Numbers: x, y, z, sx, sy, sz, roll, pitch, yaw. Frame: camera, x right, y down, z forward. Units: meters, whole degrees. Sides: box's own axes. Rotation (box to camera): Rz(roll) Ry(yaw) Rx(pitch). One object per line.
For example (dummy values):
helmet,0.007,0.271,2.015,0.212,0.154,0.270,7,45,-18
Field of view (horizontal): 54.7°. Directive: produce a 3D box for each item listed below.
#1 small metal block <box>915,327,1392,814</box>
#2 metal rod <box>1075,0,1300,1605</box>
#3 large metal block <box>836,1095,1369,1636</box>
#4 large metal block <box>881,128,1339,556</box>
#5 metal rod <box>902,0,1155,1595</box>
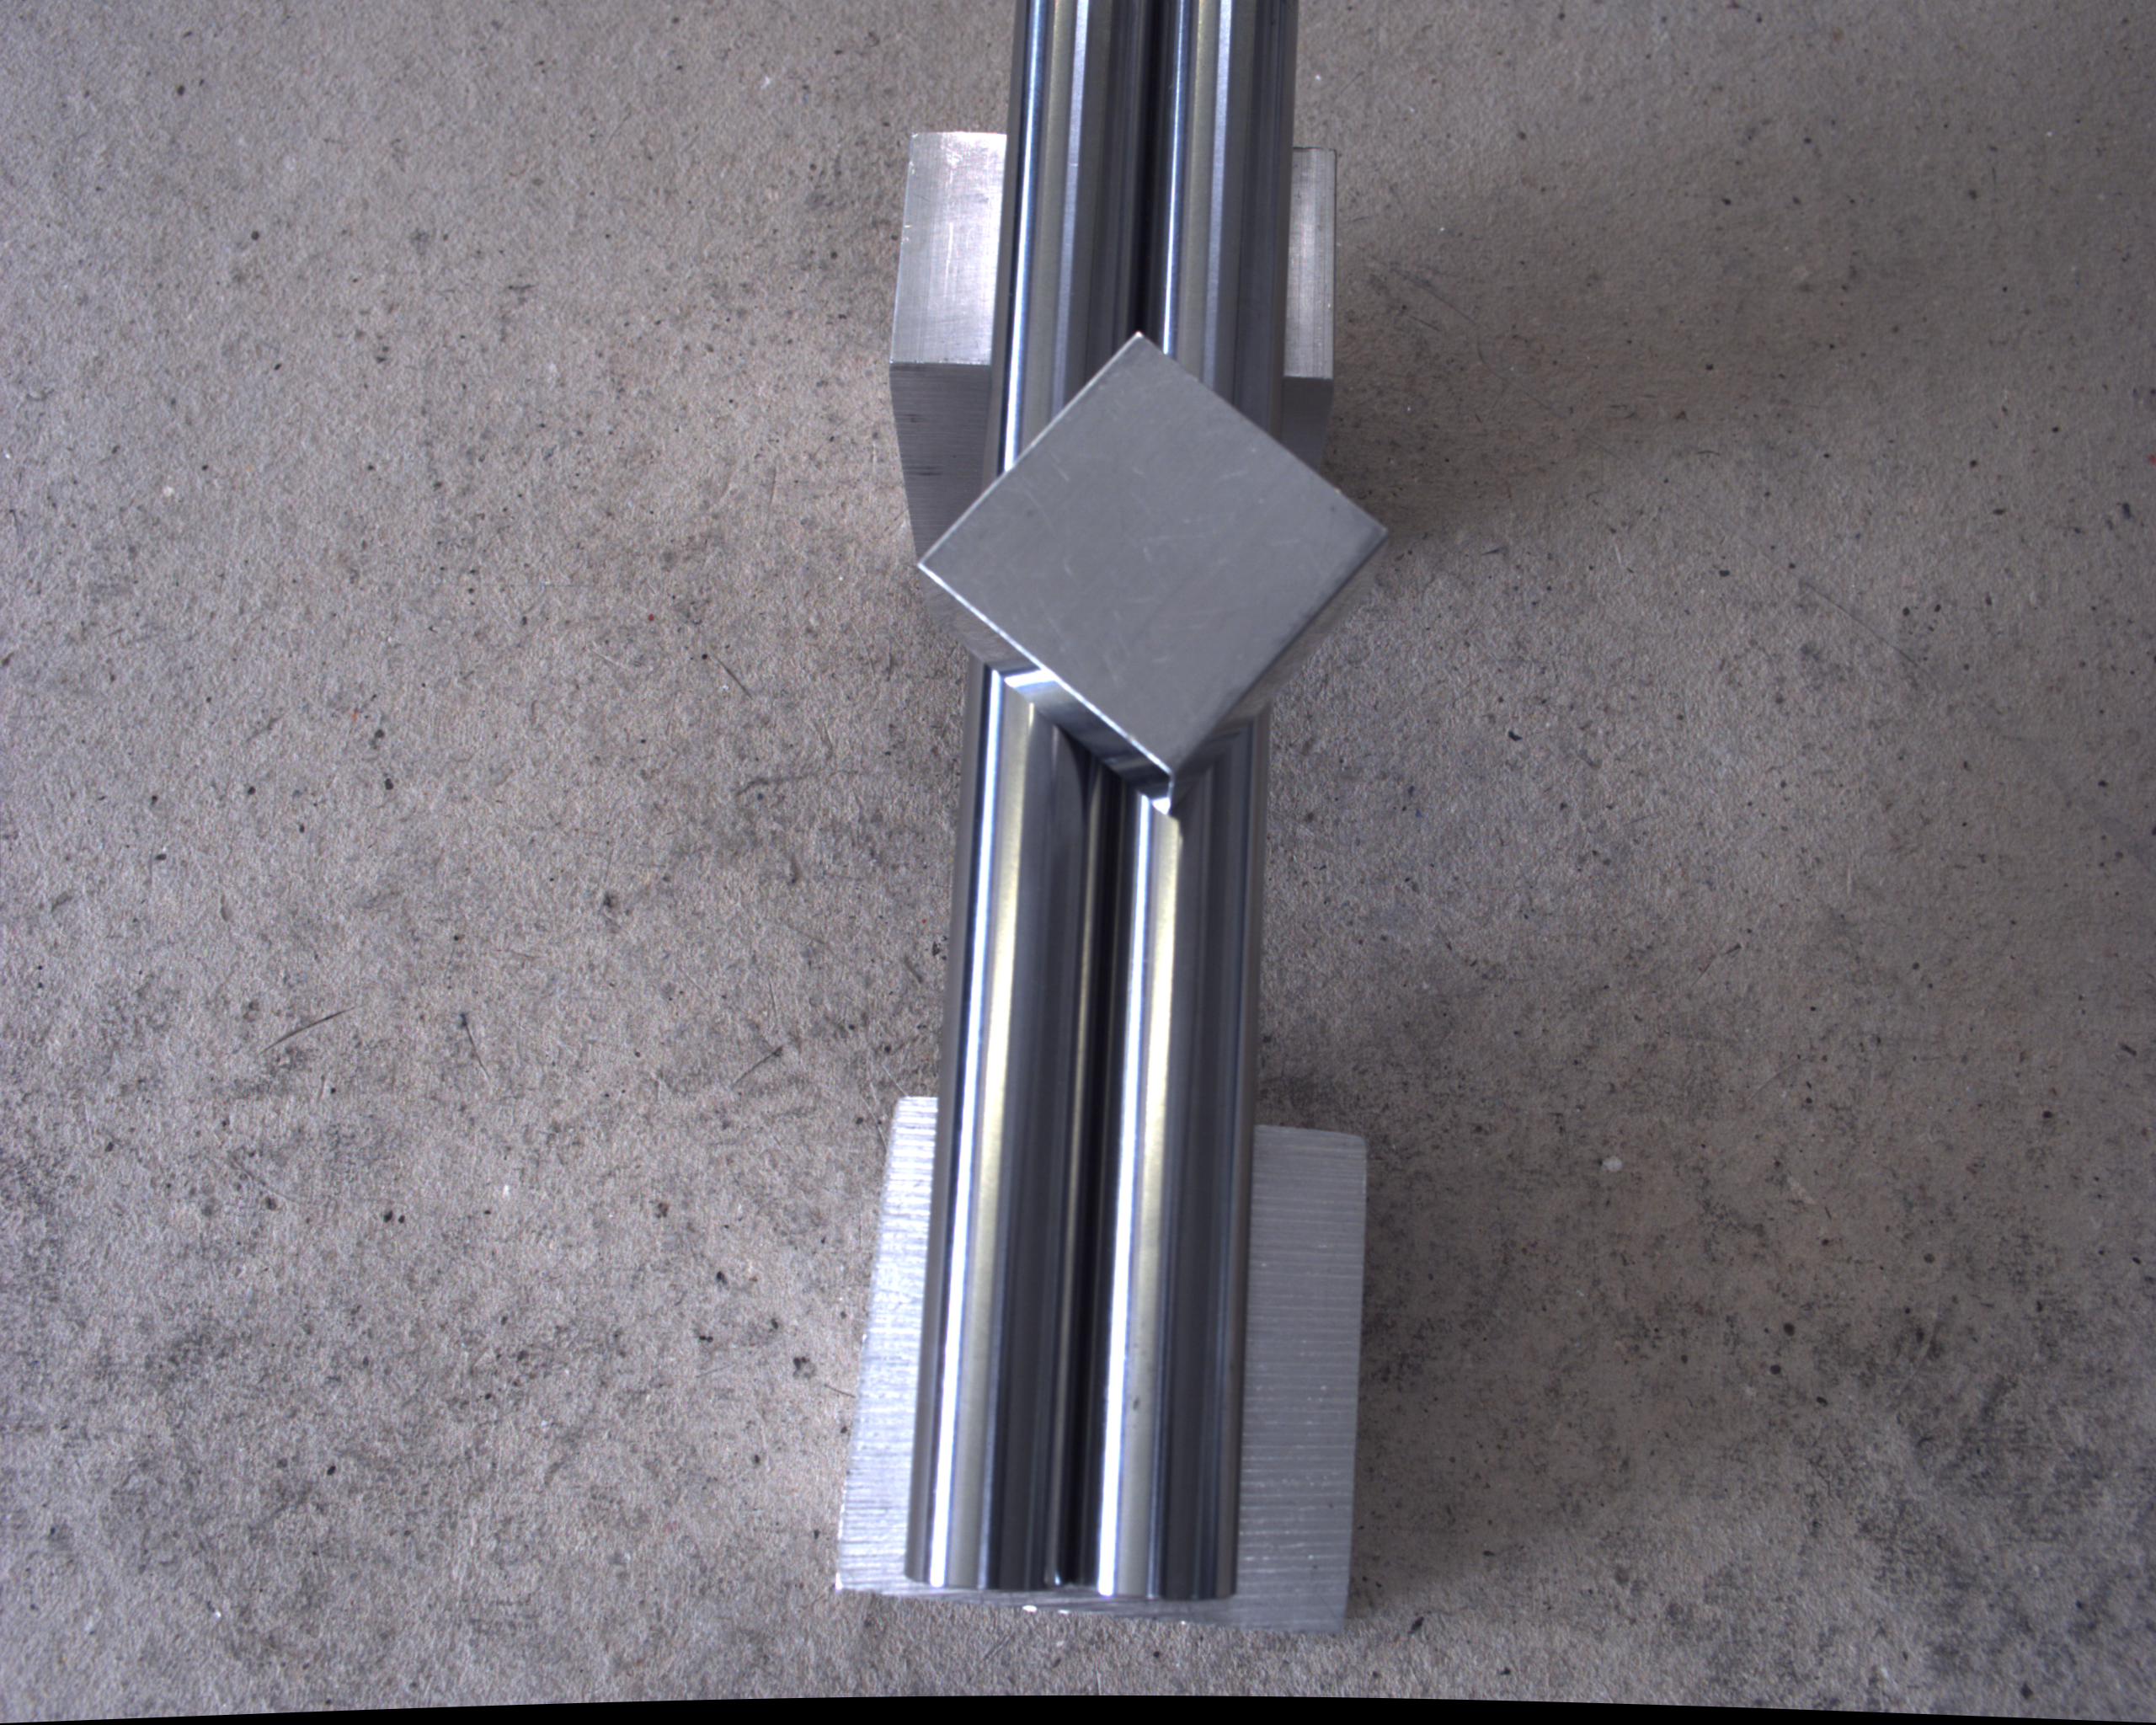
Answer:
small metal block,0.011,-0.045,0.322,0.050,0.025,0.050,41,80,7
metal rod,0.021,-0.036,0.345,0.025,0.025,0.299,3,77,1
large metal block,0.006,0.088,0.363,0.080,0.050,0.080,5,70,1
large metal block,0.007,-0.098,0.416,0.080,0.080,0.050,3,70,1
metal rod,-0.005,-0.037,0.346,0.025,0.025,0.299,3,77,1
